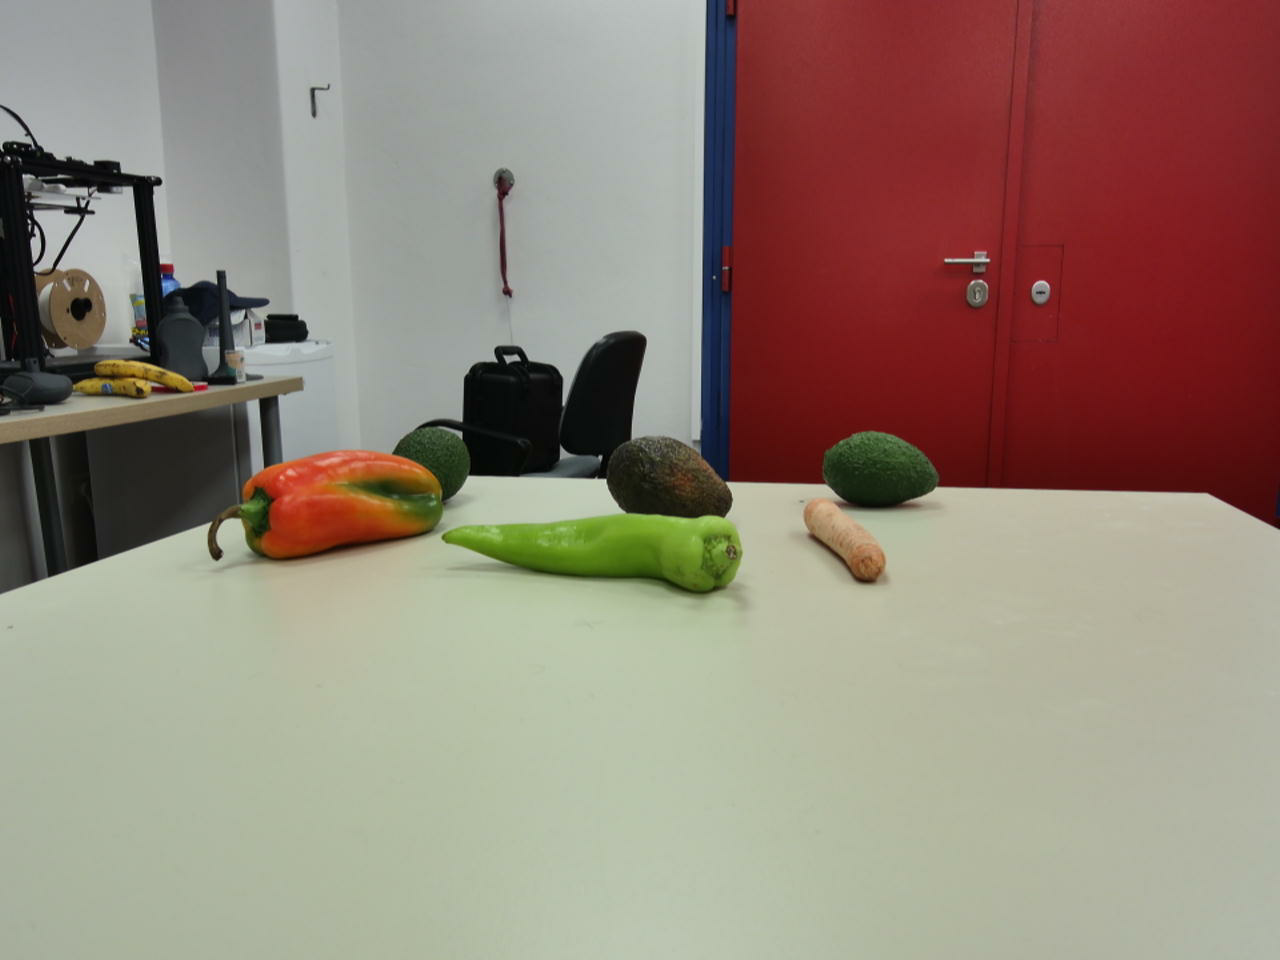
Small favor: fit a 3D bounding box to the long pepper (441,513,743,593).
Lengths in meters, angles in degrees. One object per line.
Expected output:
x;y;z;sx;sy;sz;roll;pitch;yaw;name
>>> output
-0.023;0.040;0.620;0.205;0.045;0.065;4;8;27;long pepper
